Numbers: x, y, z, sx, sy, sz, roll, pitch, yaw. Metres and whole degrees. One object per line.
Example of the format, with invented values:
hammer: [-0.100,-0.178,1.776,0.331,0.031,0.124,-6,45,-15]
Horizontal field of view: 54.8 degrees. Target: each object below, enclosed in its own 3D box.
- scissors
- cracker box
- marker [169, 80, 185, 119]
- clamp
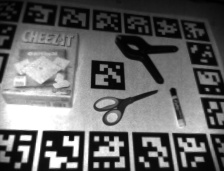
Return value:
scissors: [0.050,0.030,0.615,0.204,0.016,0.087,-24,66,-25]
cracker box: [-0.180,-0.060,0.594,0.165,0.072,0.212,3,60,-9]
marker: [0.191,0.038,0.637,0.020,0.019,0.120,-1,60,-10]
clamp: [0.090,-0.129,0.720,0.202,0.036,0.166,28,58,5]
